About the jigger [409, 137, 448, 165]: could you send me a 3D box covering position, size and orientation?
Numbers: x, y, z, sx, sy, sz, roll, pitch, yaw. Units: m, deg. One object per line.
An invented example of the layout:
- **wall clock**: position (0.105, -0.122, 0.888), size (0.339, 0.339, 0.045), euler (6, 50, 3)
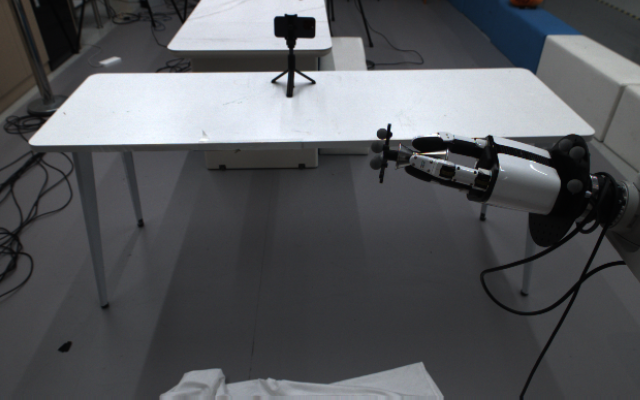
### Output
- **jigger**: position (0.150, -0.063, 0.686), size (0.071, 0.043, 0.043), euler (8, 35, 9)
